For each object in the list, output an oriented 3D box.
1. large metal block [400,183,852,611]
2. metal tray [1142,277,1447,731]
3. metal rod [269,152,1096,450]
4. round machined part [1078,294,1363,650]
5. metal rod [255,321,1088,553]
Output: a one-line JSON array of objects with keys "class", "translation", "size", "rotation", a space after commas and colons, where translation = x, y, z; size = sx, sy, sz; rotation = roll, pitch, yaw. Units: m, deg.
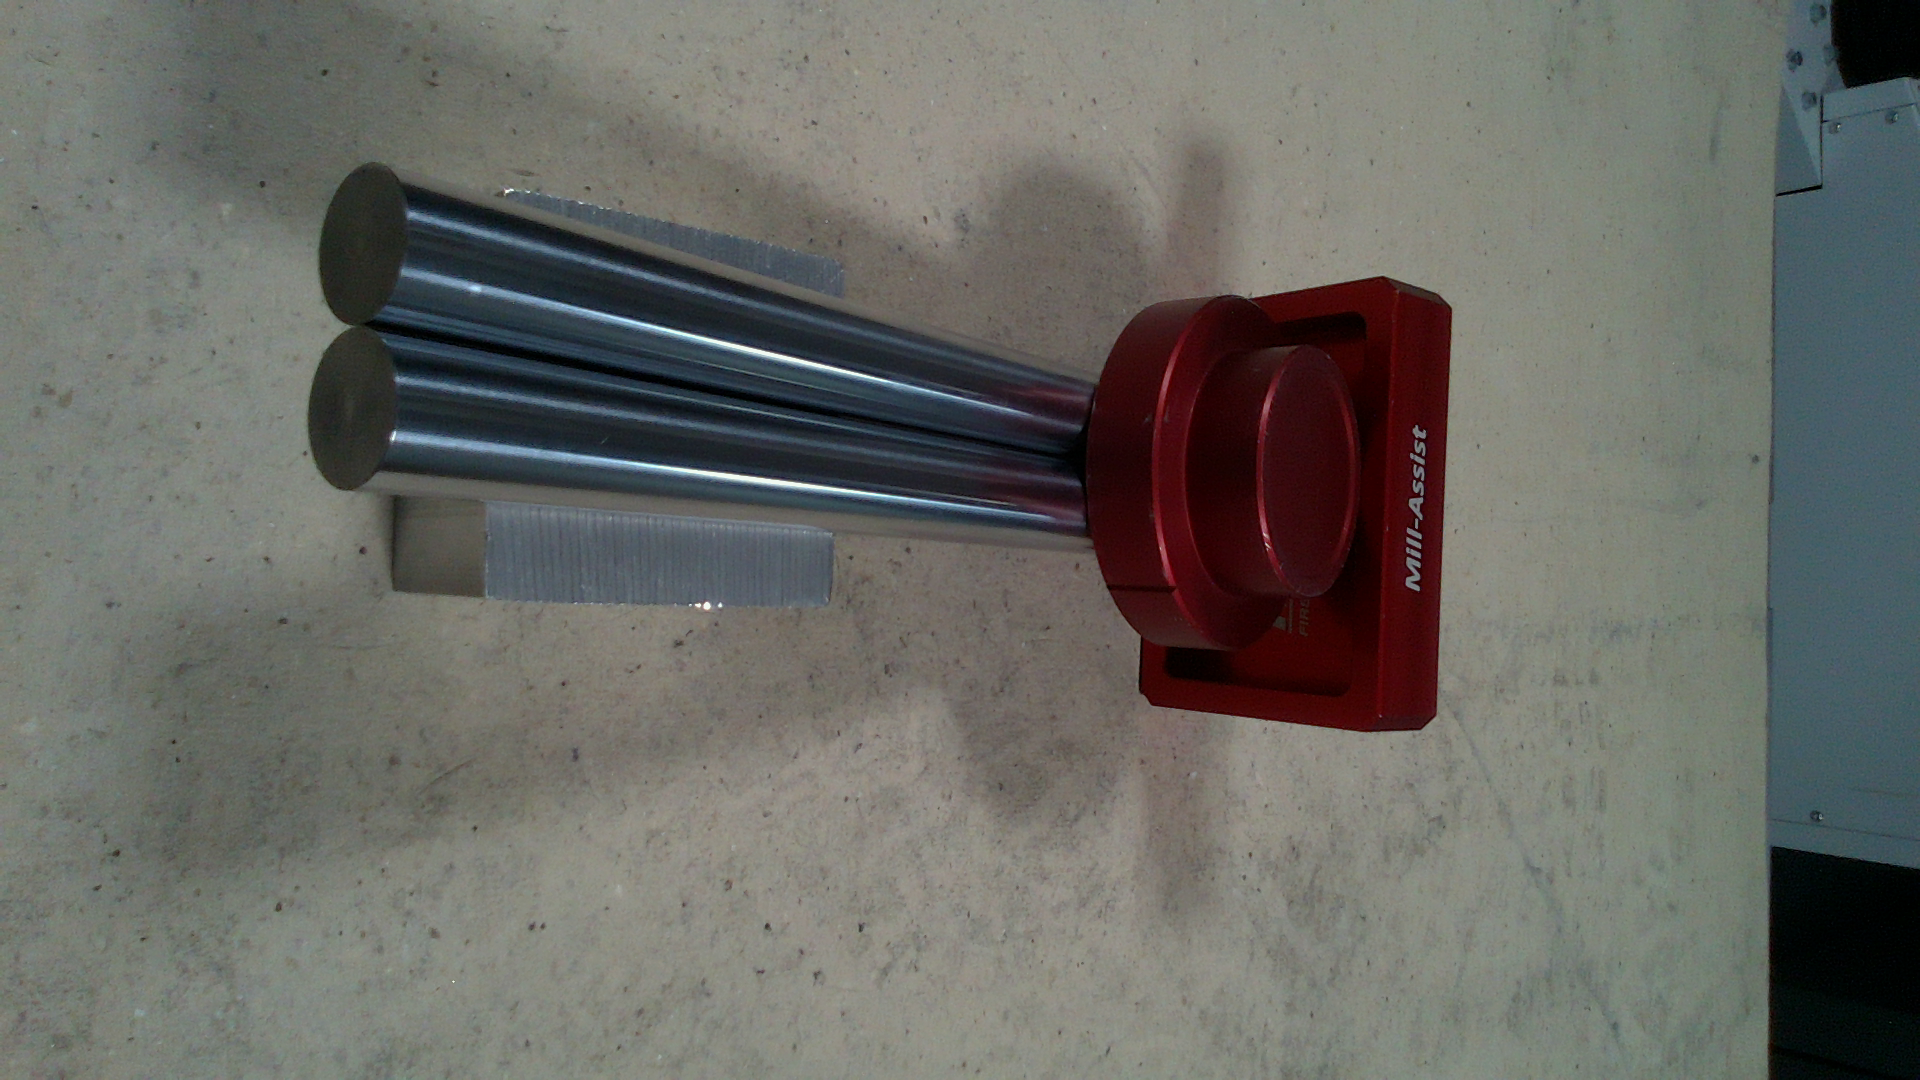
[{"class": "large metal block", "translation": [-0.073, -0.026, 0.307], "size": [0.080, 0.050, 0.080], "rotation": [4, 87, -40]}, {"class": "metal tray", "translation": [0.102, -0.010, 0.432], "size": [0.030, 0.090, 0.130], "rotation": [5, 87, -40]}, {"class": "metal rod", "translation": [-0.006, -0.039, 0.326], "size": [0.301, 0.025, 0.025], "rotation": [4, 87, -52]}, {"class": "round machined part", "translation": [0.077, -0.018, 0.379], "size": [0.098, 0.042, 0.098], "rotation": [-4, 95, -50]}, {"class": "metal rod", "translation": [-0.008, -0.012, 0.325], "size": [0.301, 0.025, 0.025], "rotation": [5, 87, -52]}]
